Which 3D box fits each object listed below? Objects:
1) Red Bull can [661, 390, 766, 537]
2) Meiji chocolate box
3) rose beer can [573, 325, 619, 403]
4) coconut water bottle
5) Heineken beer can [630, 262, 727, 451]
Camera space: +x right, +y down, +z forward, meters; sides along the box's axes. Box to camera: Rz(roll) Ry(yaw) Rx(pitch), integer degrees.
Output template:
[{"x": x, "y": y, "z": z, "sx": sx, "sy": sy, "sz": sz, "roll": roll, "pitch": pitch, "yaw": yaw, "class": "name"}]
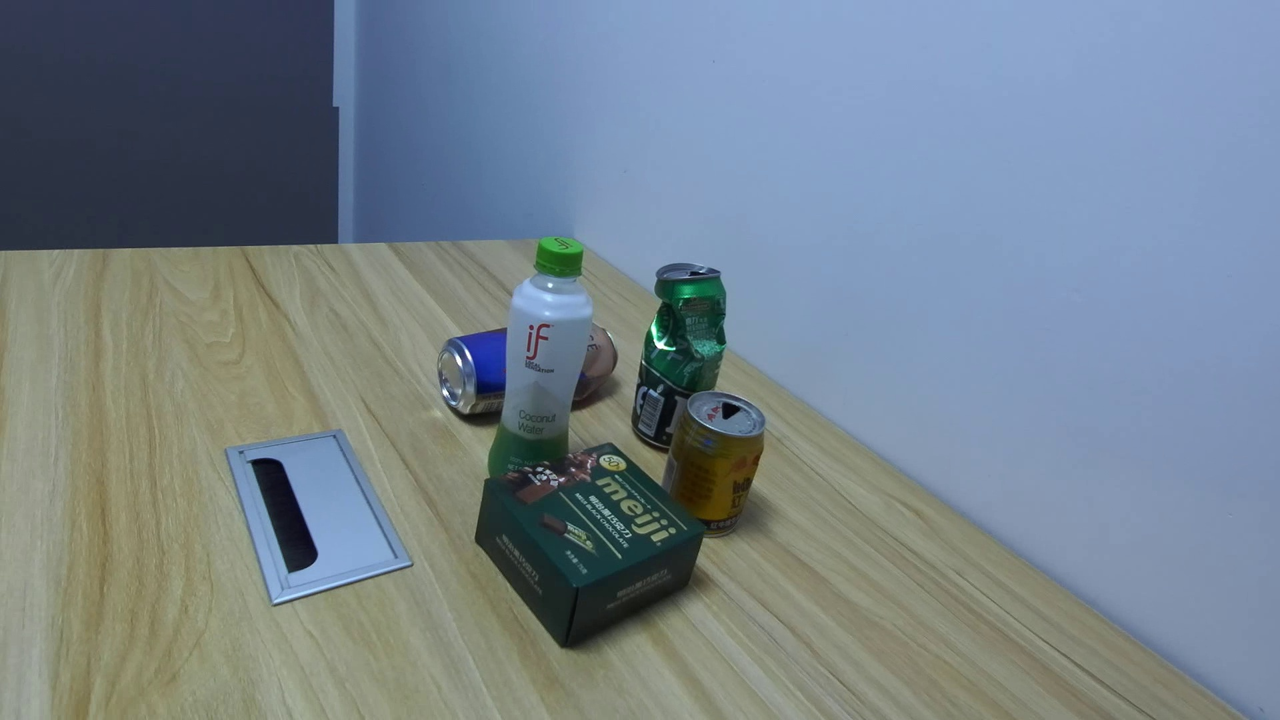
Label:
[{"x": 0.054, "y": 0.077, "z": 0.534, "sx": 0.069, "sy": 0.092, "sz": 0.069, "roll": 11, "pitch": 27, "yaw": -5, "class": "Red Bull can"}, {"x": -0.033, "y": 0.116, "z": 0.469, "sx": 0.109, "sy": 0.056, "sz": 0.109, "roll": -12, "pitch": 36, "yaw": -40, "class": "Meiji chocolate box"}, {"x": -0.099, "y": 0.003, "z": 0.647, "sx": 0.169, "sy": 0.069, "sz": 0.069, "roll": -10, "pitch": 21, "yaw": -44, "class": "rose beer can"}, {"x": -0.070, "y": 0.005, "z": 0.512, "sx": 0.063, "sy": 0.188, "sz": 0.063, "roll": 10, "pitch": 26, "yaw": -5, "class": "coconut water bottle"}, {"x": 0.038, "y": -0.001, "z": 0.610, "sx": 0.078, "sy": 0.159, "sz": 0.067, "roll": 17, "pitch": 21, "yaw": 24, "class": "Heineken beer can"}]
